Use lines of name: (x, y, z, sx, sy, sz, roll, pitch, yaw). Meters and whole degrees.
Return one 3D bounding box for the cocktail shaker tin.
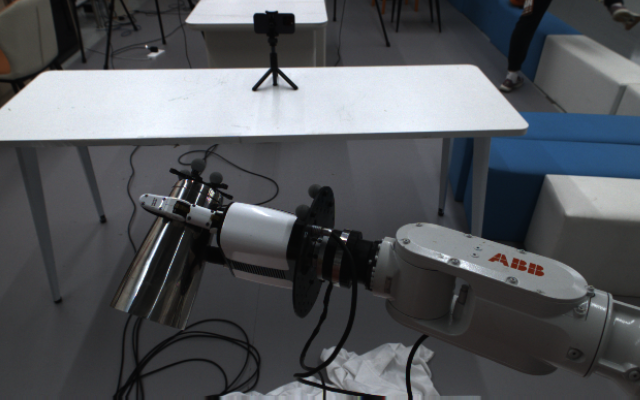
cocktail shaker tin: (-0.181, 0.065, 0.601, 0.093, 0.093, 0.170, 13, 71, 15)
